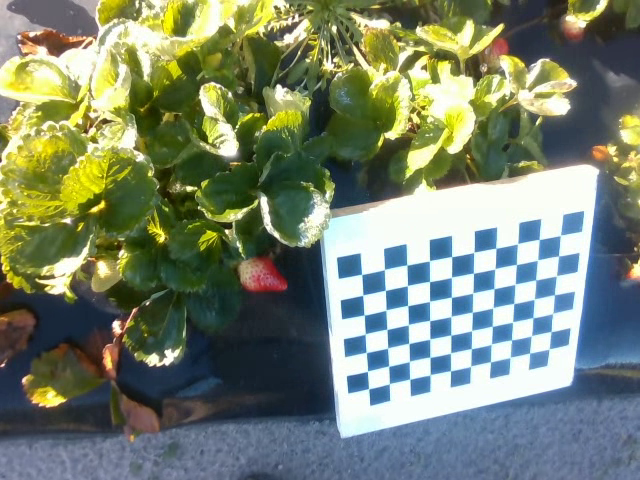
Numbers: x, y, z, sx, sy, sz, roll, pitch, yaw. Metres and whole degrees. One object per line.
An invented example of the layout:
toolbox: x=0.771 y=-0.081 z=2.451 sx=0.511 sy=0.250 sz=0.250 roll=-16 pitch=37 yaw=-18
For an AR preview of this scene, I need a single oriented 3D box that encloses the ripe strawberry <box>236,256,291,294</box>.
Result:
ripe strawberry: x=-0.061 y=0.044 z=0.659 sx=0.065 sy=0.040 sz=0.040 roll=30 pitch=12 yaw=-24
